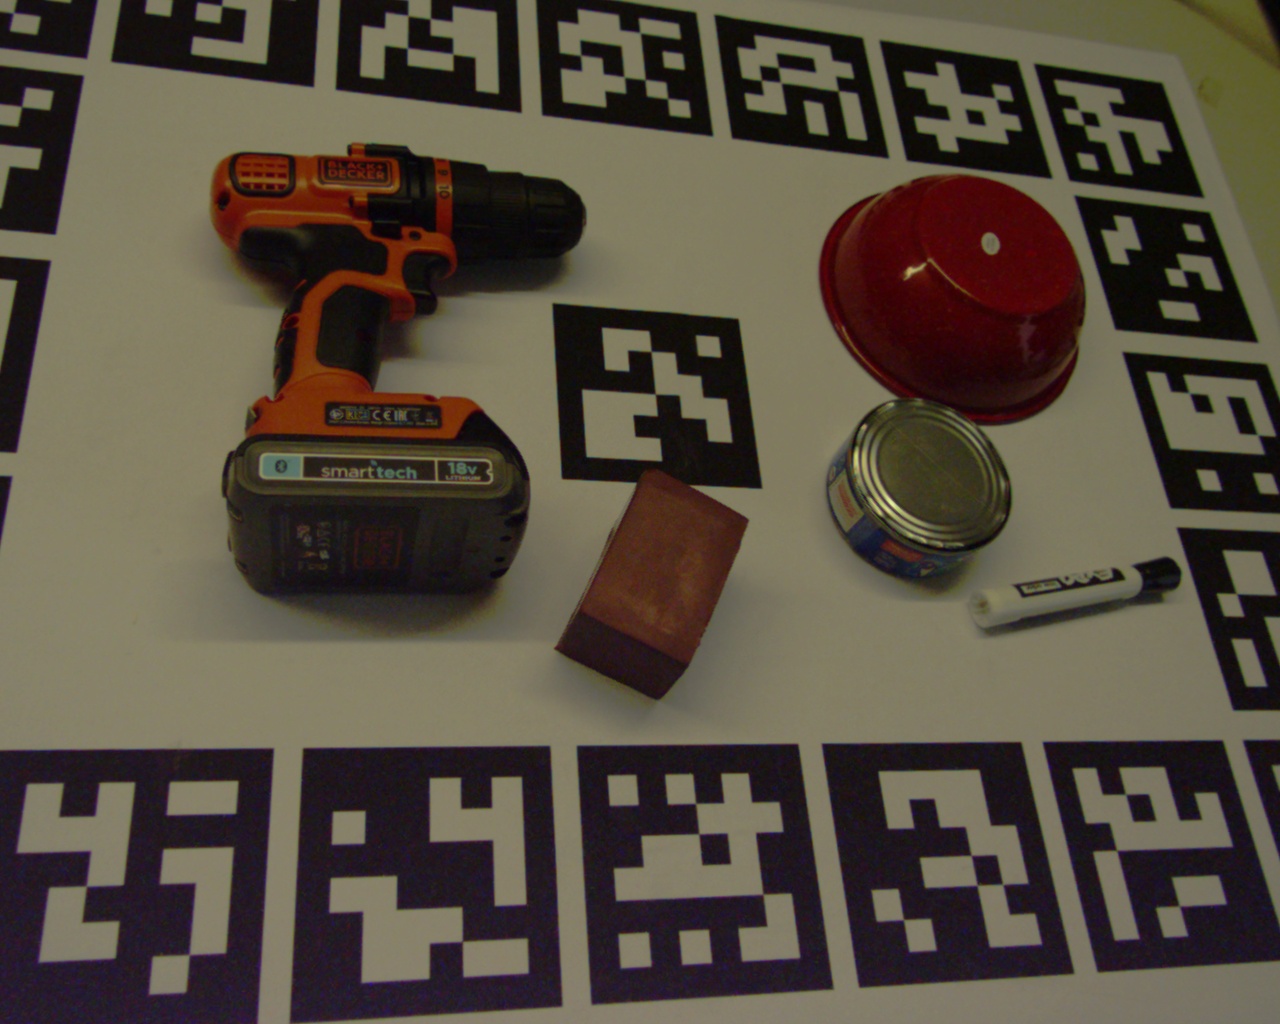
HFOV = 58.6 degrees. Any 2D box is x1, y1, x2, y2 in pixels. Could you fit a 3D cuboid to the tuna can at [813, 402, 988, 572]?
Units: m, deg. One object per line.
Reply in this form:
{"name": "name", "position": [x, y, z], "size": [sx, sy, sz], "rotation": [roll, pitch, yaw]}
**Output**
{"name": "tuna can", "position": [0.135, -0.012, 0.598], "size": [0.085, 0.034, 0.086], "rotation": [7, 63, -15]}

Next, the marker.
{"name": "marker", "position": [0.220, 0.041, 0.602], "size": [0.120, 0.020, 0.020], "rotation": [-7, 69, -19]}

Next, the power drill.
{"name": "power drill", "position": [-0.117, -0.071, 0.550], "size": [0.183, 0.057, 0.188], "rotation": [2, 62, -18]}

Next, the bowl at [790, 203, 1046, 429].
{"name": "bowl", "position": [0.172, -0.128, 0.665], "size": [0.161, 0.055, 0.162], "rotation": [5, 57, -9]}

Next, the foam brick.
{"name": "foam brick", "position": [0.002, 0.037, 0.535], "size": [0.051, 0.053, 0.078], "rotation": [24, 62, -5]}
